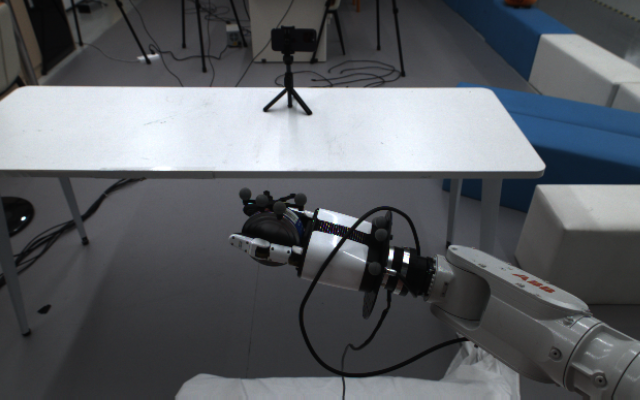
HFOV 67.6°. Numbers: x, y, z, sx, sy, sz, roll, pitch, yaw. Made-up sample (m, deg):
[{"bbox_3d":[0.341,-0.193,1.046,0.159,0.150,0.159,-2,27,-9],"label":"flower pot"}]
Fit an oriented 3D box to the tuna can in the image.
[{"bbox_3d":[-0.065,0.050,0.690,0.085,0.085,0.034,9,23,9],"label":"tuna can"}]
